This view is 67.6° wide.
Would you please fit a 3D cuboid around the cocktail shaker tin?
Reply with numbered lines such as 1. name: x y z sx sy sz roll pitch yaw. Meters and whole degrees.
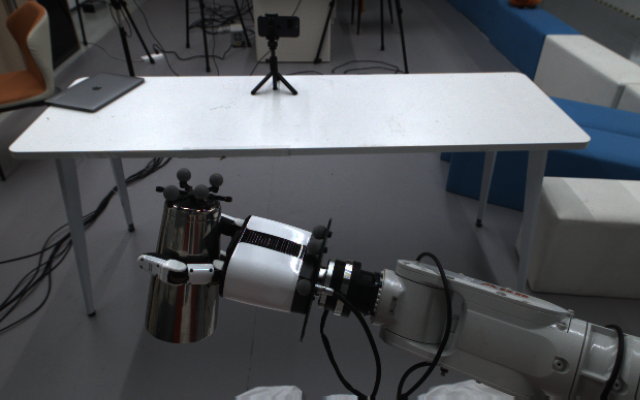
1. cocktail shaker tin: -0.164 0.080 0.605 0.093 0.170 0.093 10 19 -3
